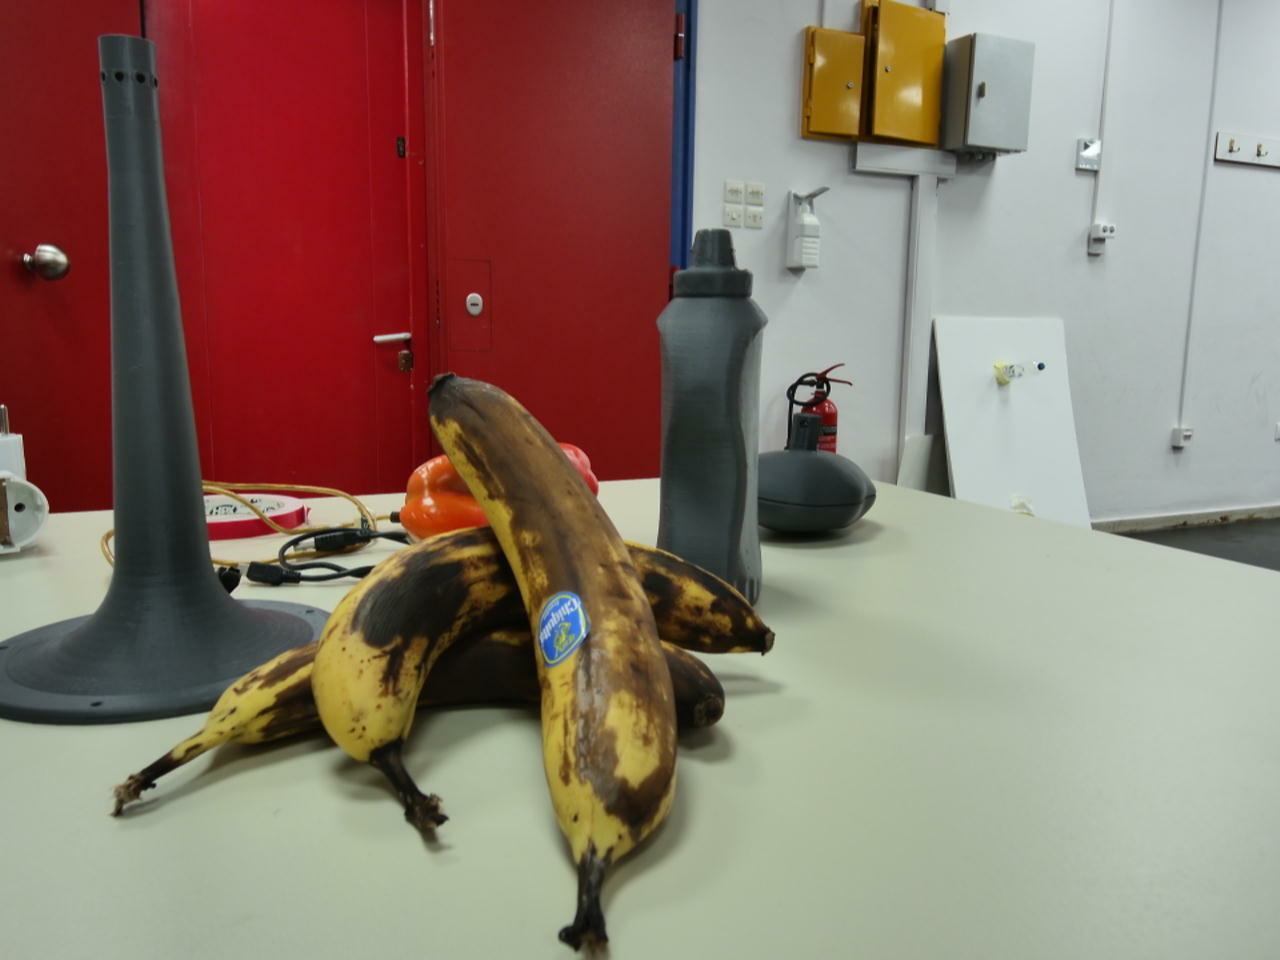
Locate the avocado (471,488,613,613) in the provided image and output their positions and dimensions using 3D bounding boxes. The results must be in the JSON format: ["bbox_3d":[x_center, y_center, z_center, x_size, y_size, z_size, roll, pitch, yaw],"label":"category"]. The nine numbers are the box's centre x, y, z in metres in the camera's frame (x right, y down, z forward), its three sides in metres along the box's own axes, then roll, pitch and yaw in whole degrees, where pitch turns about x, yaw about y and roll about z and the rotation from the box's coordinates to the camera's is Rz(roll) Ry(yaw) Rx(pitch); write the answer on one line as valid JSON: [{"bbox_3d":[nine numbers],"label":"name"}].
[{"bbox_3d":[-0.053,0.036,0.522,0.062,0.062,0.092,6,9,41],"label":"avocado"}]
